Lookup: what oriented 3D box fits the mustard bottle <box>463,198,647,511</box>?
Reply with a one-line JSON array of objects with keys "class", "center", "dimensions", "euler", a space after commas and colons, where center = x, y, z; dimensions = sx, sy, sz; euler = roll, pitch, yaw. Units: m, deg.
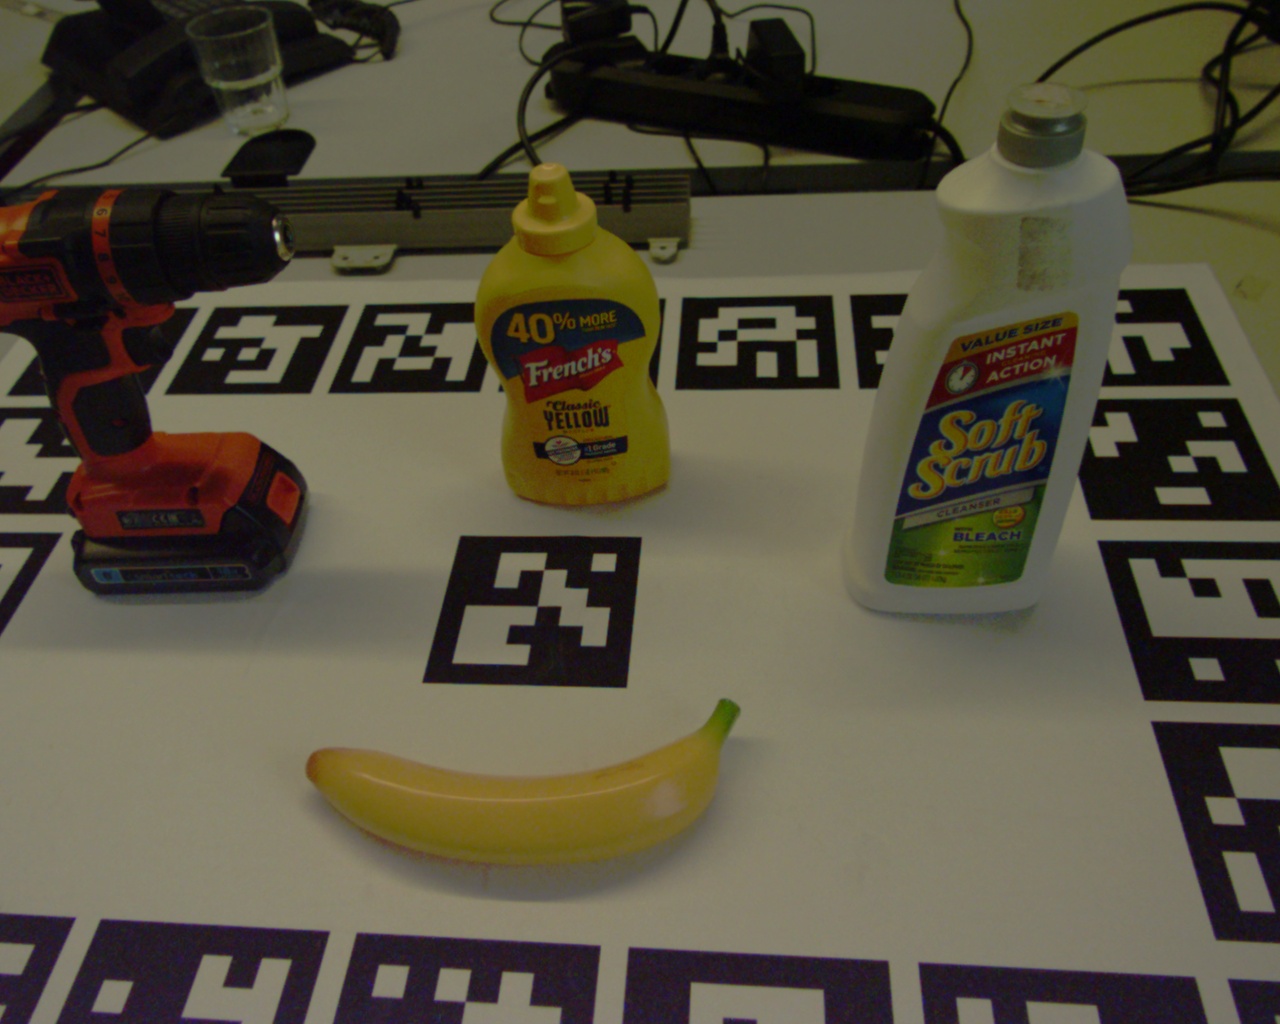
[{"class": "mustard bottle", "center": [-0.046, -0.084, 0.625], "dimensions": [0.096, 0.190, 0.059], "euler": [-4, 46, -1]}]

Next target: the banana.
[{"class": "banana", "center": [-0.060, 0.116, 0.526], "dimensions": [0.198, 0.038, 0.074], "euler": [-5, 48, 5]}]

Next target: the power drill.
[{"class": "power drill", "center": [-0.240, -0.072, 0.594], "dimensions": [0.185, 0.186, 0.057], "euler": [-6, 46, 5]}]

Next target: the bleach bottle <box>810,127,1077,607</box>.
[{"class": "bleach bottle", "center": [0.138, -0.059, 0.536], "dimensions": [0.103, 0.249, 0.068], "euler": [7, 47, 11]}]
